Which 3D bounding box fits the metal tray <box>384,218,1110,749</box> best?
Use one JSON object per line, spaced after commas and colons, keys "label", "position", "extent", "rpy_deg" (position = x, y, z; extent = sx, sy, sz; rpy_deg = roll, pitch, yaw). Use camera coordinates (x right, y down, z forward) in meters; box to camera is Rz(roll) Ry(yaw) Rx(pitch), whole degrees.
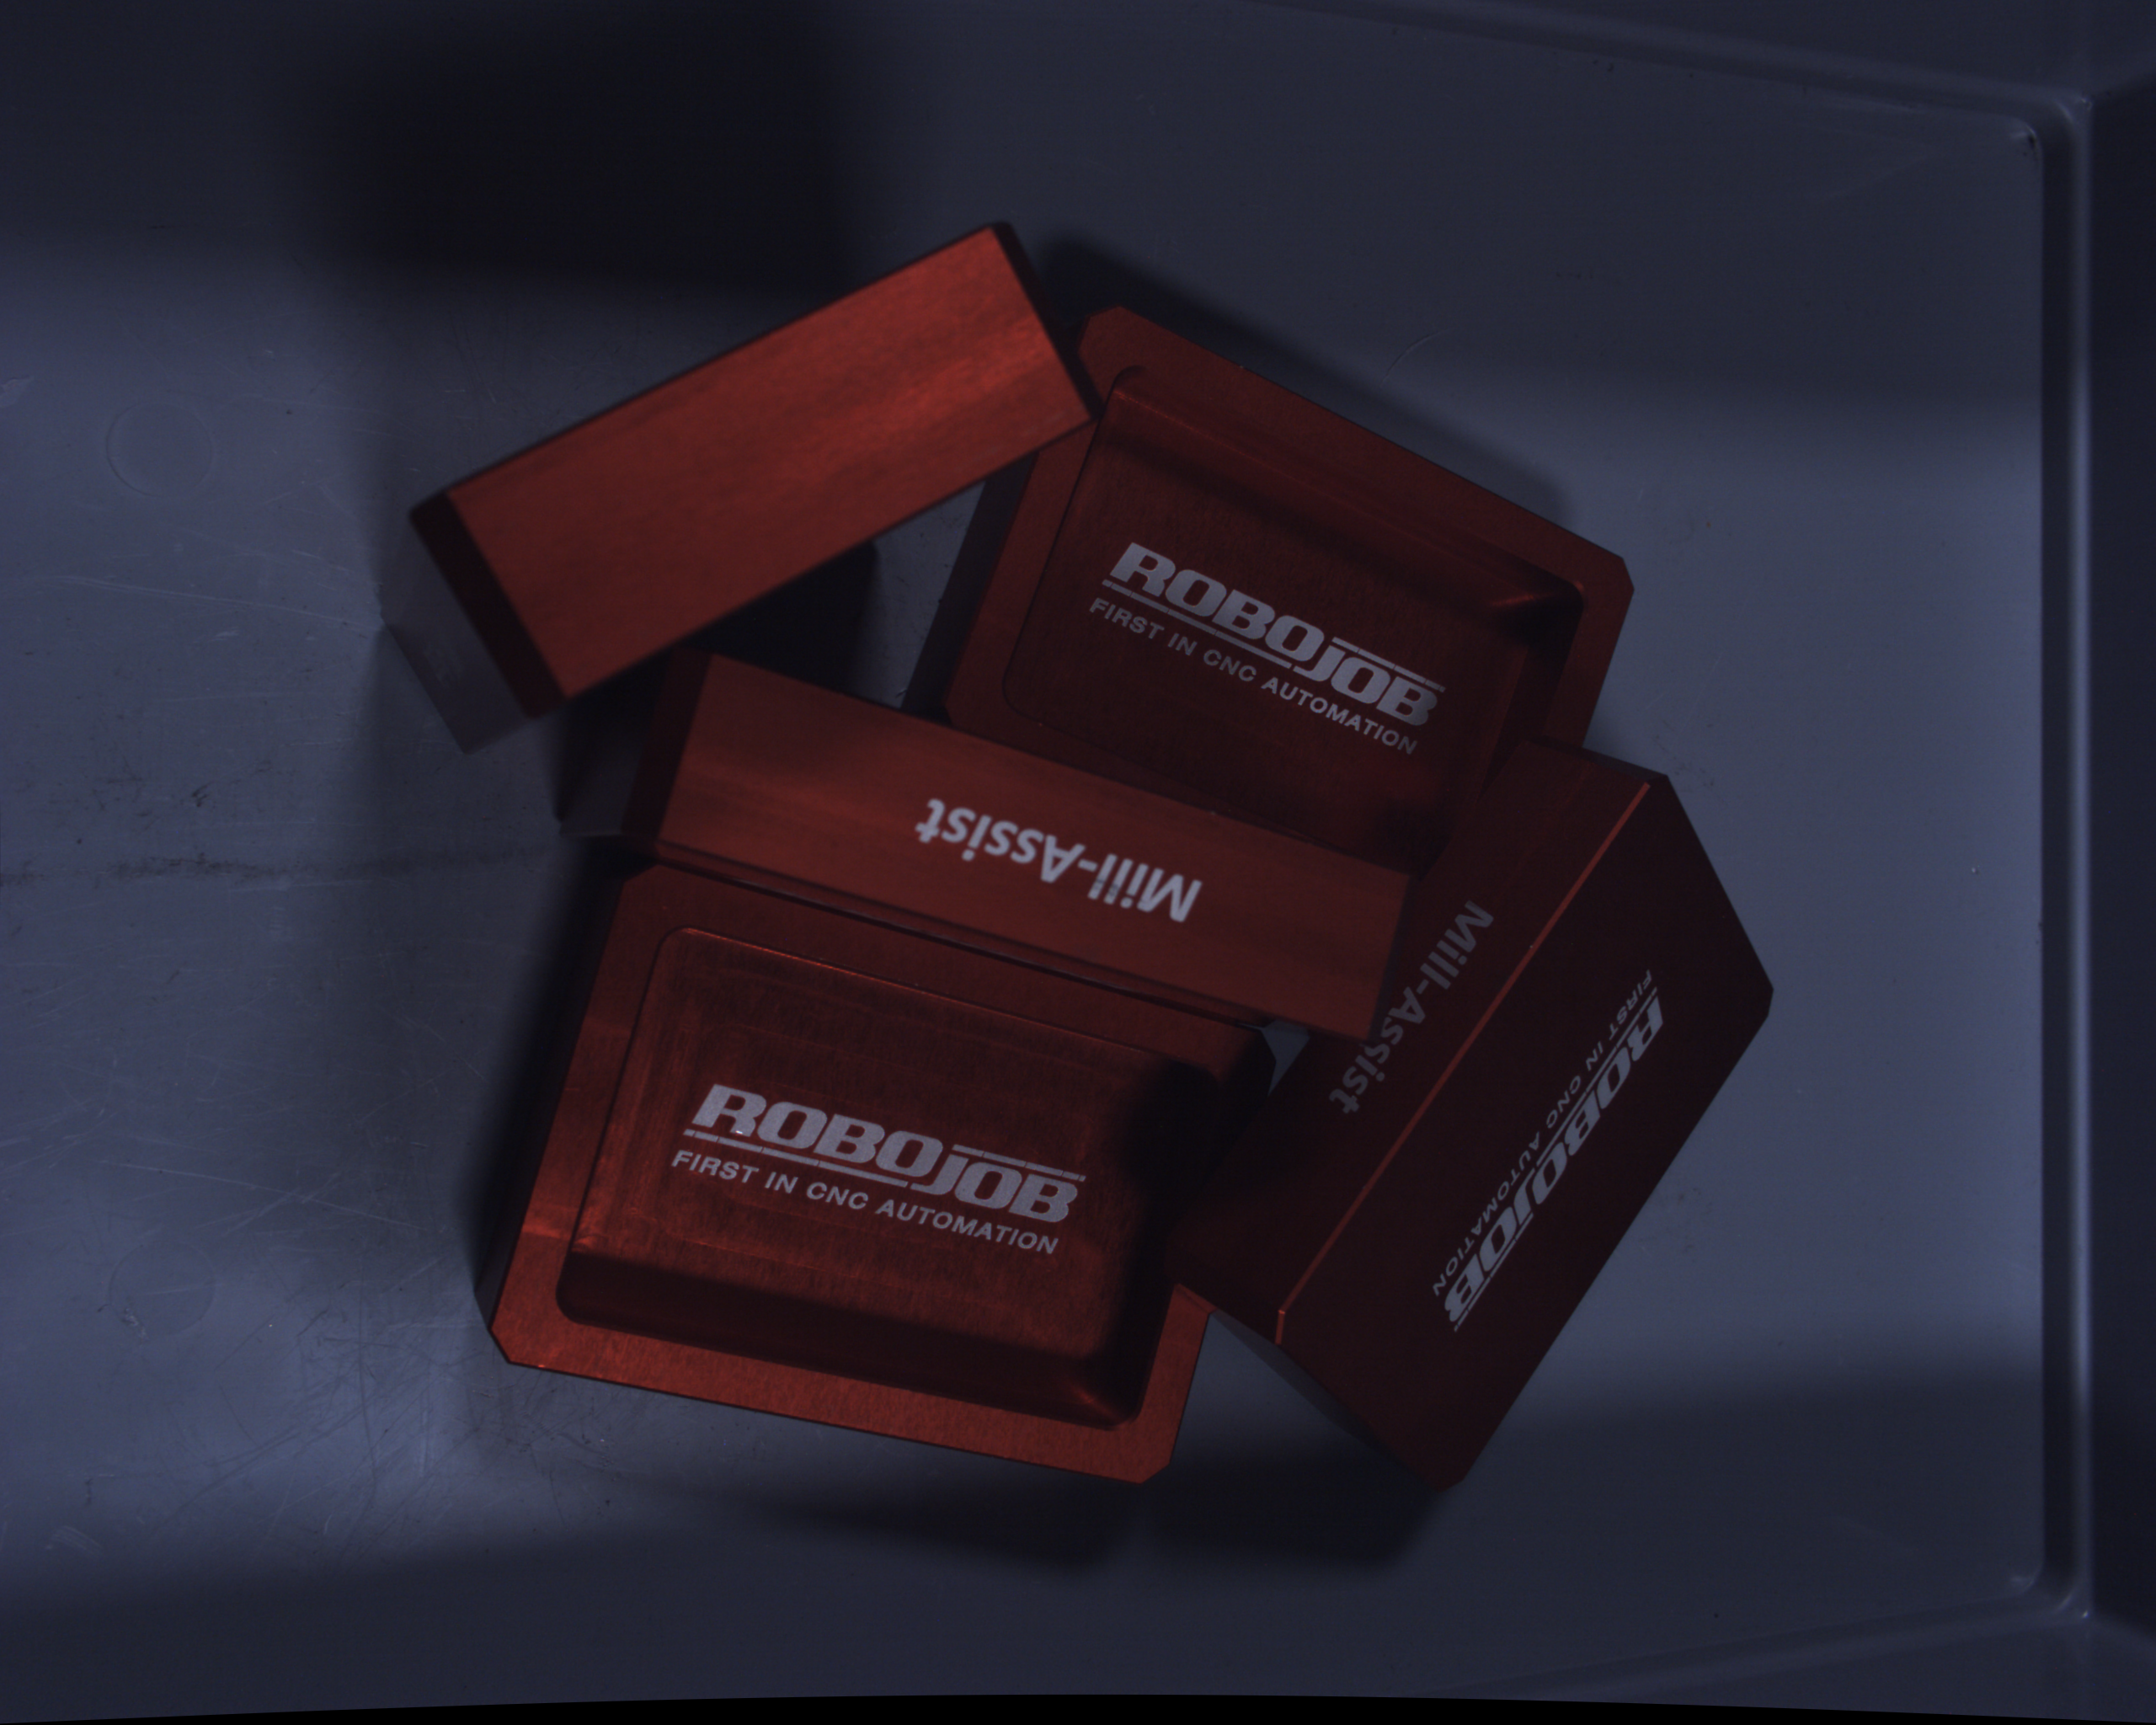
{"label": "metal tray", "position": [-0.060, -0.054, 0.330], "extent": [0.091, 0.130, 0.030], "rpy_deg": [-31, 101, -17]}

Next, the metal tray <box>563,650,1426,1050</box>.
{"label": "metal tray", "position": [-0.018, 0.000, 0.367], "extent": [0.131, 0.090, 0.030], "rpy_deg": [17, 85, -20]}

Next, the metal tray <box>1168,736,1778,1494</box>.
{"label": "metal tray", "position": [0.084, 0.051, 0.417], "extent": [0.130, 0.030, 0.090], "rpy_deg": [-53, 135, -12]}

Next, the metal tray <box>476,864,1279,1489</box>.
{"label": "metal tray", "position": [-0.035, 0.059, 0.393], "extent": [0.131, 0.030, 0.090], "rpy_deg": [17, 84, -20]}

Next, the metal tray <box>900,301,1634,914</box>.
{"label": "metal tray", "position": [0.040, -0.043, 0.422], "extent": [0.131, 0.030, 0.090], "rpy_deg": [22, 83, -19]}
